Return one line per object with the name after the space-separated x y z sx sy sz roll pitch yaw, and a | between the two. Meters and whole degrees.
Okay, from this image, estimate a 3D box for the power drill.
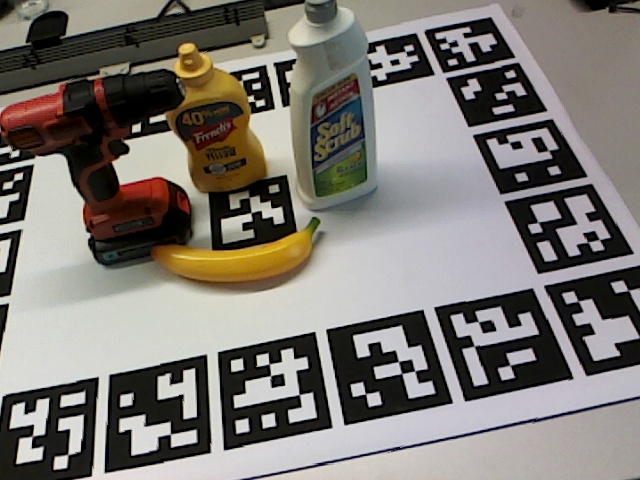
-0.217 -0.084 0.669 0.184 0.186 0.057 -13 46 -4 | power drill

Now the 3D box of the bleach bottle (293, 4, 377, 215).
0.009 -0.134 0.667 0.102 0.250 0.068 -18 54 -5 | bleach bottle

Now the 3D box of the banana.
-0.089 0.014 0.692 0.197 0.038 0.074 -10 57 4 | banana

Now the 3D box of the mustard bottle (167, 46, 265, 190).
-0.125 -0.141 0.720 0.096 0.191 0.058 -11 53 -1 | mustard bottle
